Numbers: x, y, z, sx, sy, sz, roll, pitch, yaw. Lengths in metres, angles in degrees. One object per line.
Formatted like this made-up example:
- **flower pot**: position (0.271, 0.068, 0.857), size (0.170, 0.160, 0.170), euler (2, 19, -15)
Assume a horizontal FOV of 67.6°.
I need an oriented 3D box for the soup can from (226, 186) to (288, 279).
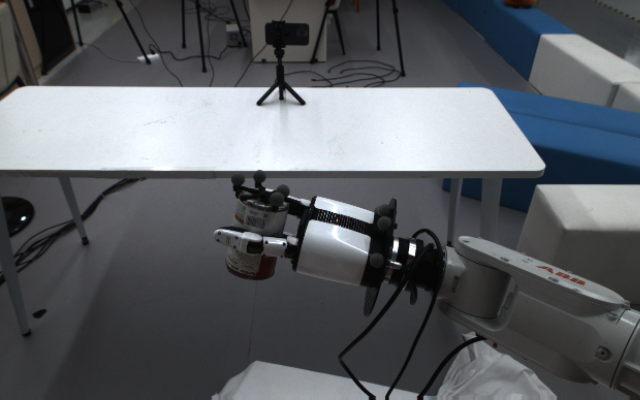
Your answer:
- **soup can**: position (-0.081, 0.046, 0.635), size (0.067, 0.101, 0.067), euler (13, 18, -4)
